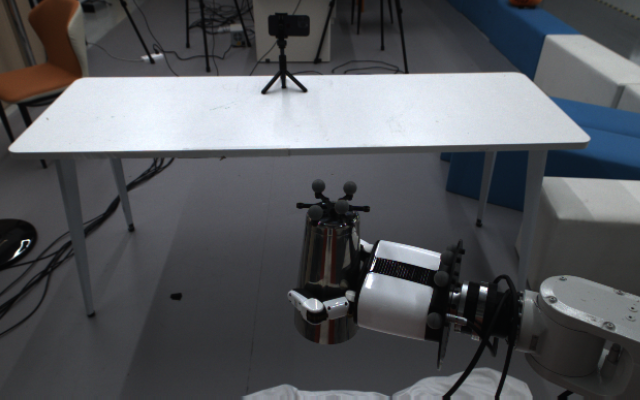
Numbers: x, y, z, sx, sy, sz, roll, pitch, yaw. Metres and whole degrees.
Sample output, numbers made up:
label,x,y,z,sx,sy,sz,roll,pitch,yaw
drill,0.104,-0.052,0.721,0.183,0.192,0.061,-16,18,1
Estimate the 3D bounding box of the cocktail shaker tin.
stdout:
label,x,y,z,sx,sy,sz,roll,pitch,yaw
cocktail shaker tin,0.015,0.091,0.630,0.093,0.170,0.093,2,28,-1
